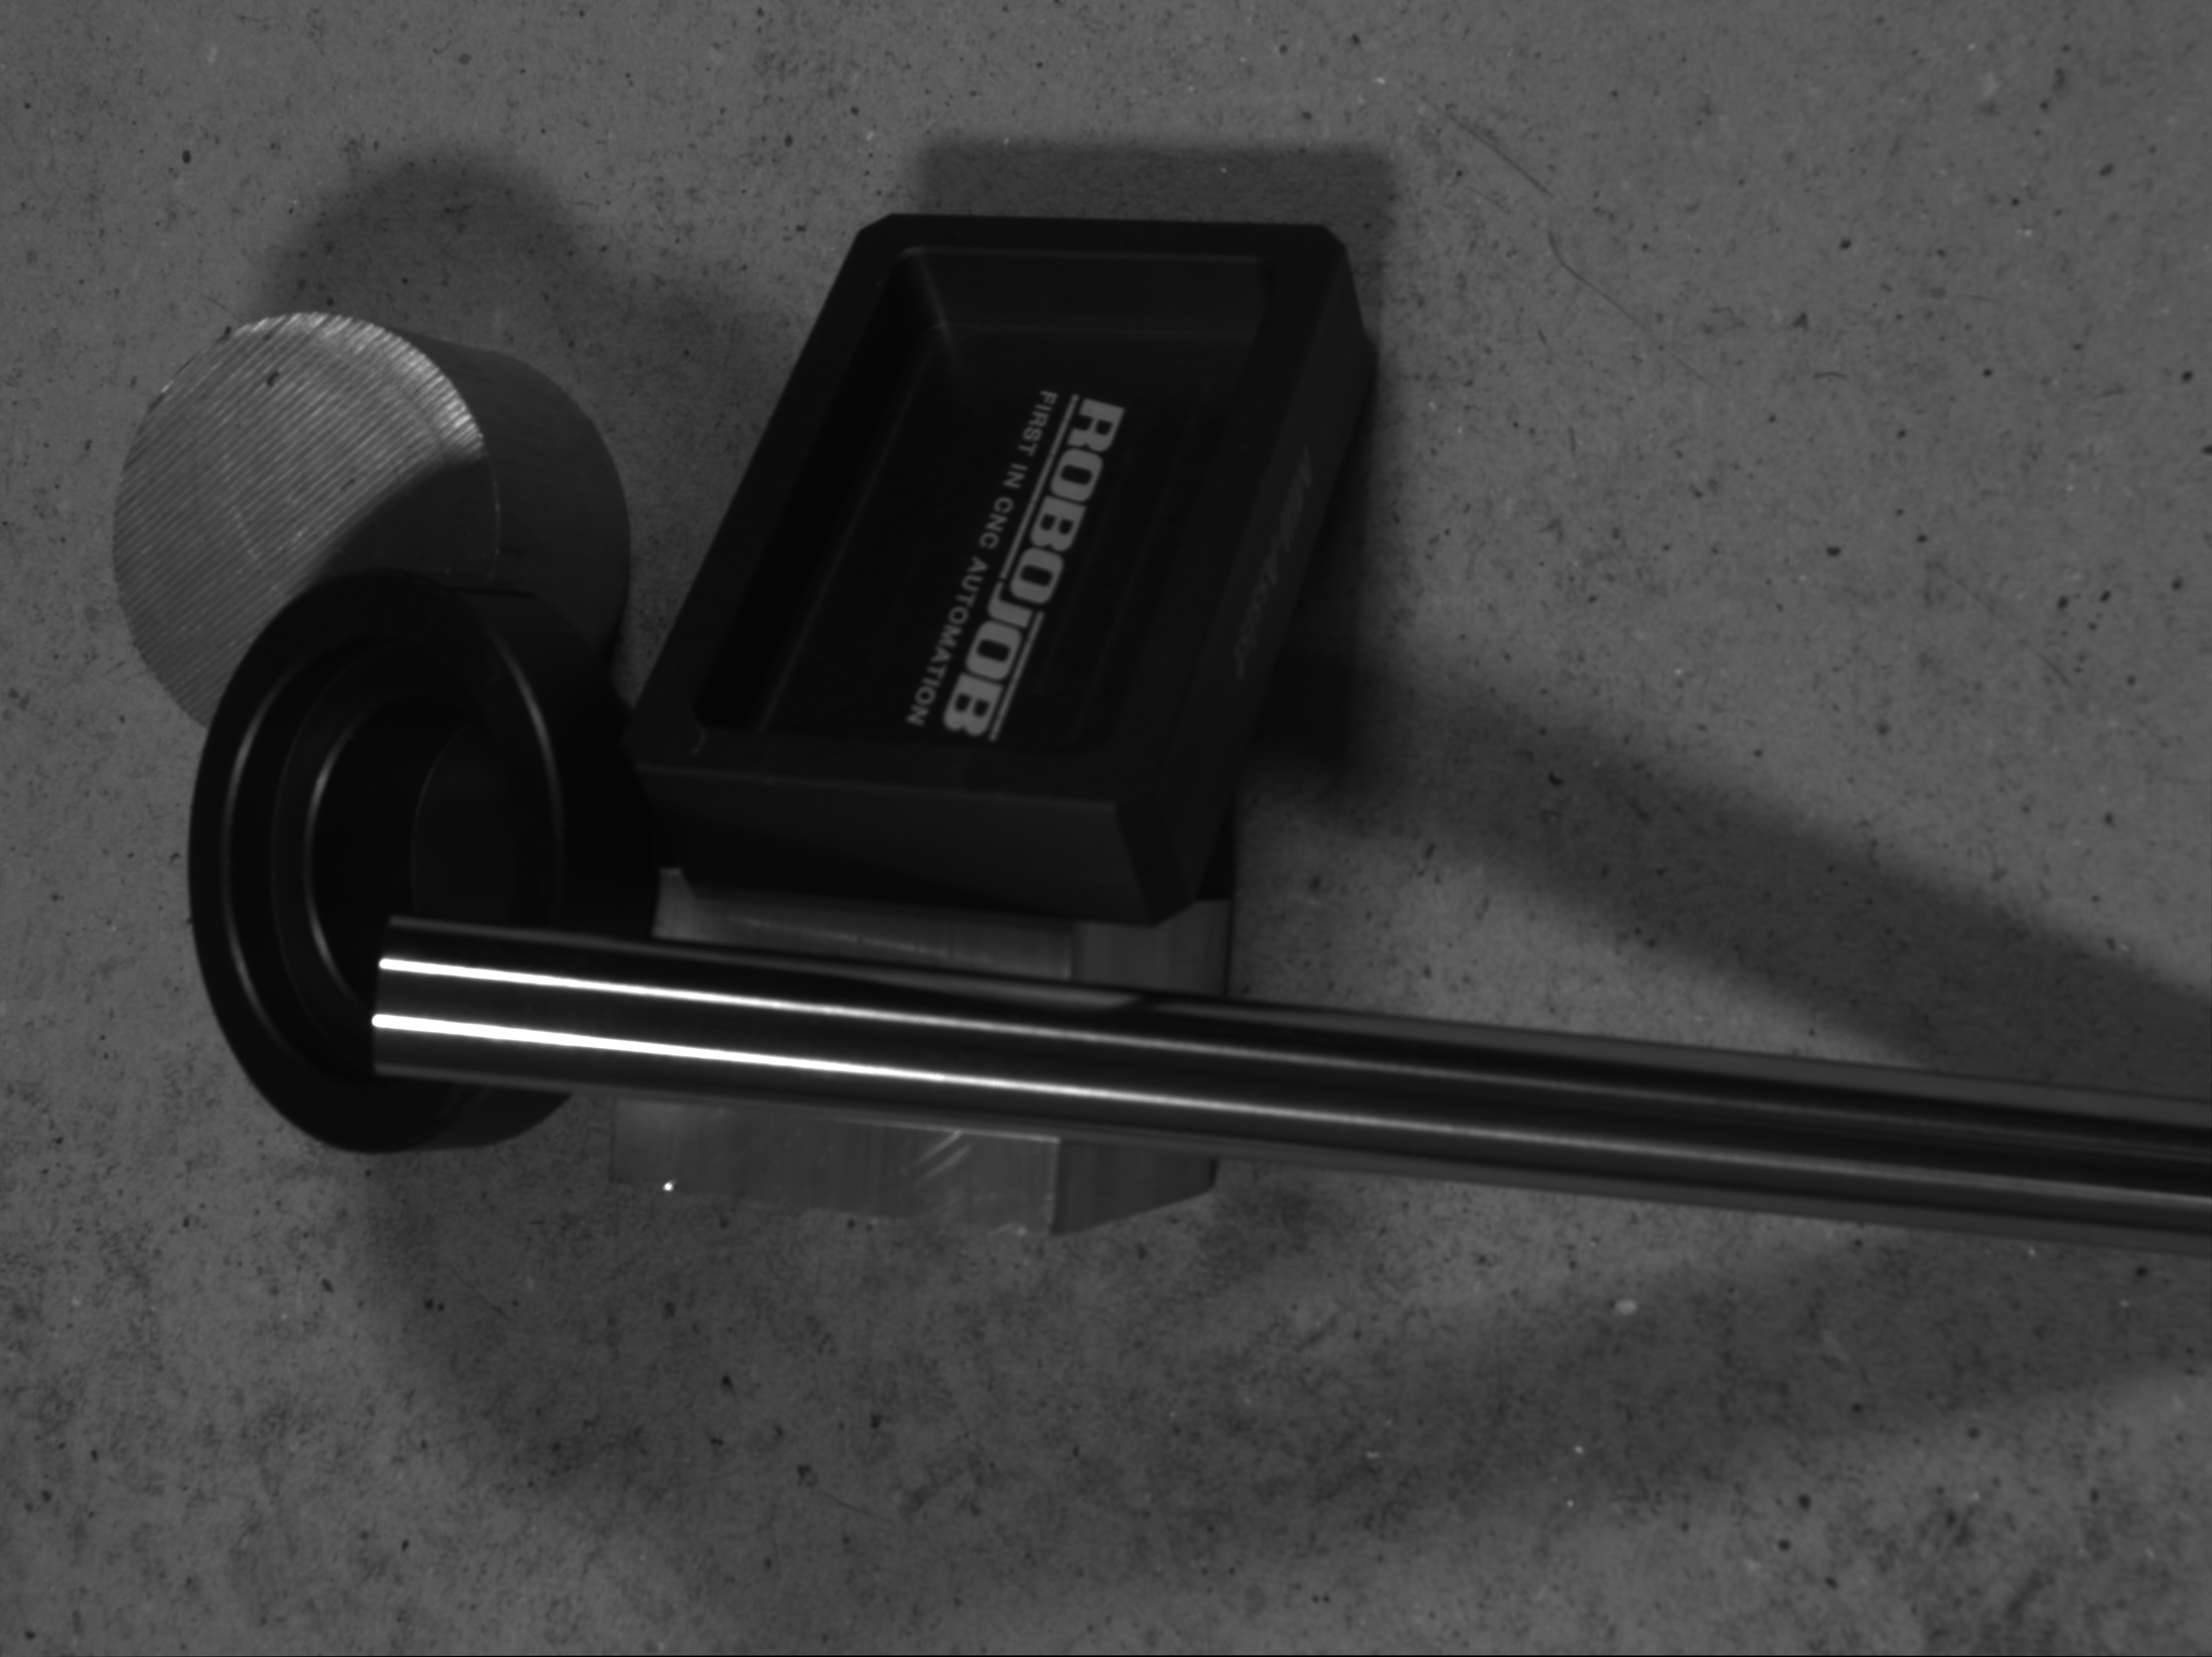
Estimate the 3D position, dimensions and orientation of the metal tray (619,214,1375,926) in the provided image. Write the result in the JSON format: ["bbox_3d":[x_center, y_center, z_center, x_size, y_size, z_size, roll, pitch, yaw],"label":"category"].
[{"bbox_3d":[-0.015,-0.047,0.607,0.090,0.030,0.130,5,52,20],"label":"metal tray"}]

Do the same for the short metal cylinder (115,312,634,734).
[{"bbox_3d":[-0.135,-0.052,0.680,0.080,0.050,0.080,0,90,20],"label":"short metal cylinder"}]

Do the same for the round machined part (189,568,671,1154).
[{"bbox_3d":[-0.111,0.006,0.628,0.098,0.042,0.098,-1,88,40],"label":"round machined part"}]

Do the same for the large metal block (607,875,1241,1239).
[{"bbox_3d":[-0.029,0.036,0.625,0.080,0.080,0.050,5,91,20],"label":"large metal block"}]

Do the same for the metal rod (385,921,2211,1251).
[{"bbox_3d":[0.041,0.041,0.567,0.300,0.025,0.025,6,92,-4],"label":"metal rod"}]
